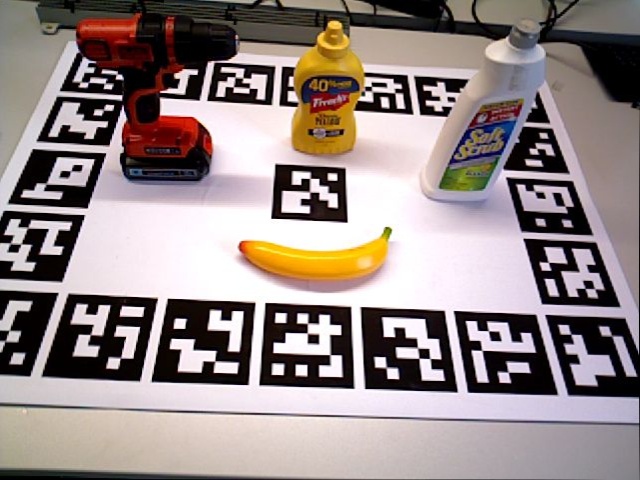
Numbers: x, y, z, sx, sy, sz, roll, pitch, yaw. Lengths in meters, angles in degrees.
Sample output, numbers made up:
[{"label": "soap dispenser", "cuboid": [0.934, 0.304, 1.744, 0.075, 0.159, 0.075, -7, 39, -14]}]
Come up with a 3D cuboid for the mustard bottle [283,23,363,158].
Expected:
[{"label": "mustard bottle", "cuboid": [0.006, -0.195, 0.715, 0.095, 0.196, 0.057, -2, 54, -11]}]

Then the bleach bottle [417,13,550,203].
[{"label": "bleach bottle", "cuboid": [0.199, -0.153, 0.664, 0.102, 0.256, 0.066, 10, 53, 0]}]

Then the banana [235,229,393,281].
[{"label": "banana", "cuboid": [-0.002, 0.015, 0.646, 0.196, 0.039, 0.073, -3, 57, -4]}]

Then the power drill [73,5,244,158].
[{"label": "power drill", "cuboid": [-0.178, -0.186, 0.651, 0.183, 0.191, 0.056, -4, 54, -4]}]
